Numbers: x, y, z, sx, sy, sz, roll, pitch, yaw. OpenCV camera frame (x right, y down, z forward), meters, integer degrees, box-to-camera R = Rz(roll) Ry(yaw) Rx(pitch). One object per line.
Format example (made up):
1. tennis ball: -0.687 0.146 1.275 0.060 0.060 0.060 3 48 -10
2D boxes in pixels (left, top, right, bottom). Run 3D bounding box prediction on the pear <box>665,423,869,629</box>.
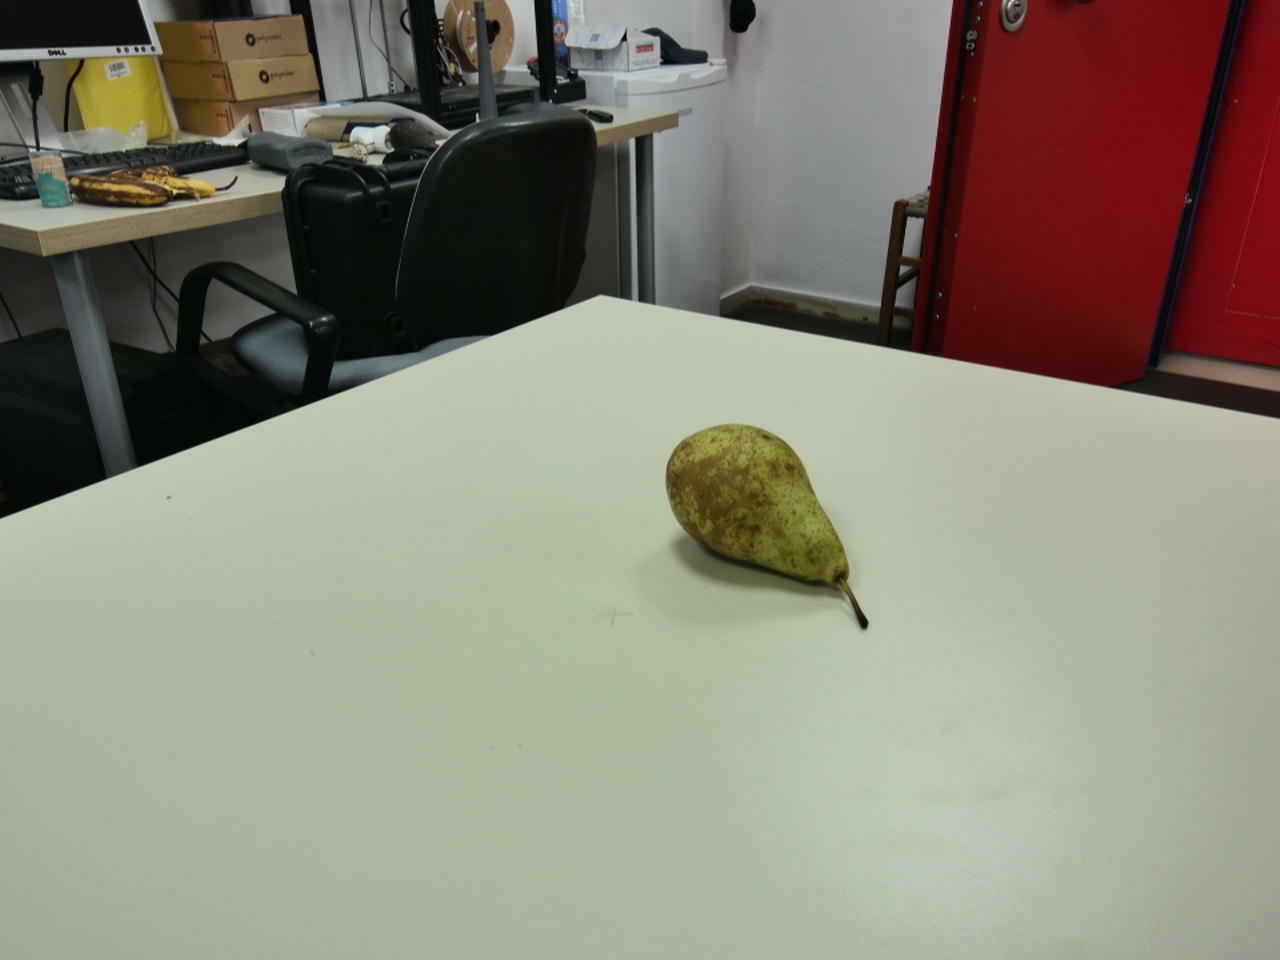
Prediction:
1. pear: 0.072 0.012 0.528 0.128 0.075 0.071 14 27 26
